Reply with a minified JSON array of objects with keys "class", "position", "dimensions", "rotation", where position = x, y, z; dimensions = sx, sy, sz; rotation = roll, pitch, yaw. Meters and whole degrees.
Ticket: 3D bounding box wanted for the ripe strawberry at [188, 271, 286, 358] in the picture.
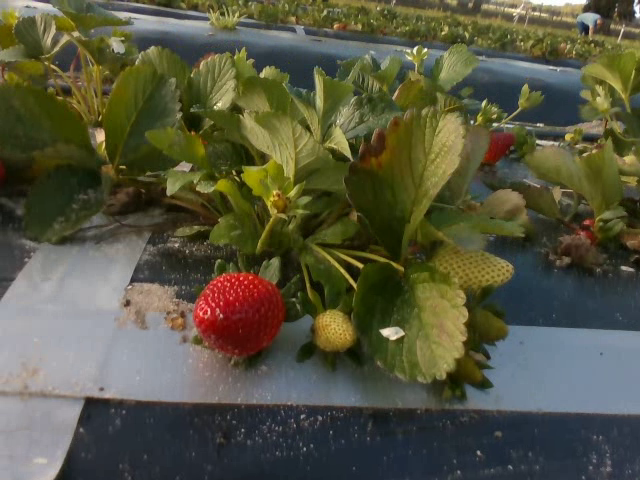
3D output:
[{"class":"ripe strawberry","position":[-0.017,0.014,0.121],"dimensions":[0.023,0.021,0.026],"rotation":[-9,4,13]}]
